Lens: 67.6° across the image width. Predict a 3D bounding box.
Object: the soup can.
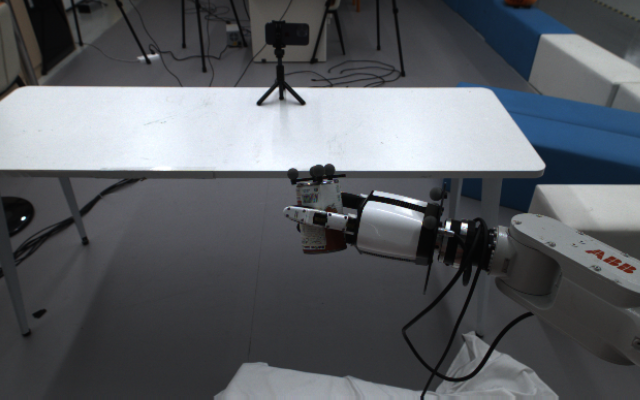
[{"bbox_3d":[0.003,0.024,0.710,0.067,0.101,0.067,-7,3,0],"label":"soup can"}]
